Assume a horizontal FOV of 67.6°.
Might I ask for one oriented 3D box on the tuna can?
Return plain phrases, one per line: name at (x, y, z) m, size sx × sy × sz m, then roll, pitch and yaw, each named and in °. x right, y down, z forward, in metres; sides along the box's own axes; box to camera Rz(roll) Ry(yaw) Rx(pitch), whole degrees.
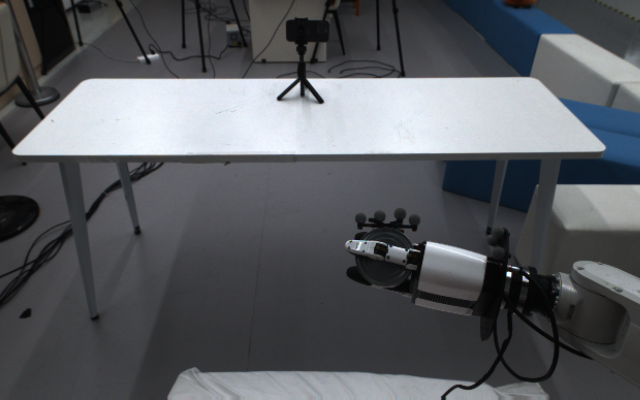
tuna can at (0.096, 0.083, 0.704) m, size 0.085 × 0.034 × 0.085 m, roll -4°, pitch 70°, yaw 11°
